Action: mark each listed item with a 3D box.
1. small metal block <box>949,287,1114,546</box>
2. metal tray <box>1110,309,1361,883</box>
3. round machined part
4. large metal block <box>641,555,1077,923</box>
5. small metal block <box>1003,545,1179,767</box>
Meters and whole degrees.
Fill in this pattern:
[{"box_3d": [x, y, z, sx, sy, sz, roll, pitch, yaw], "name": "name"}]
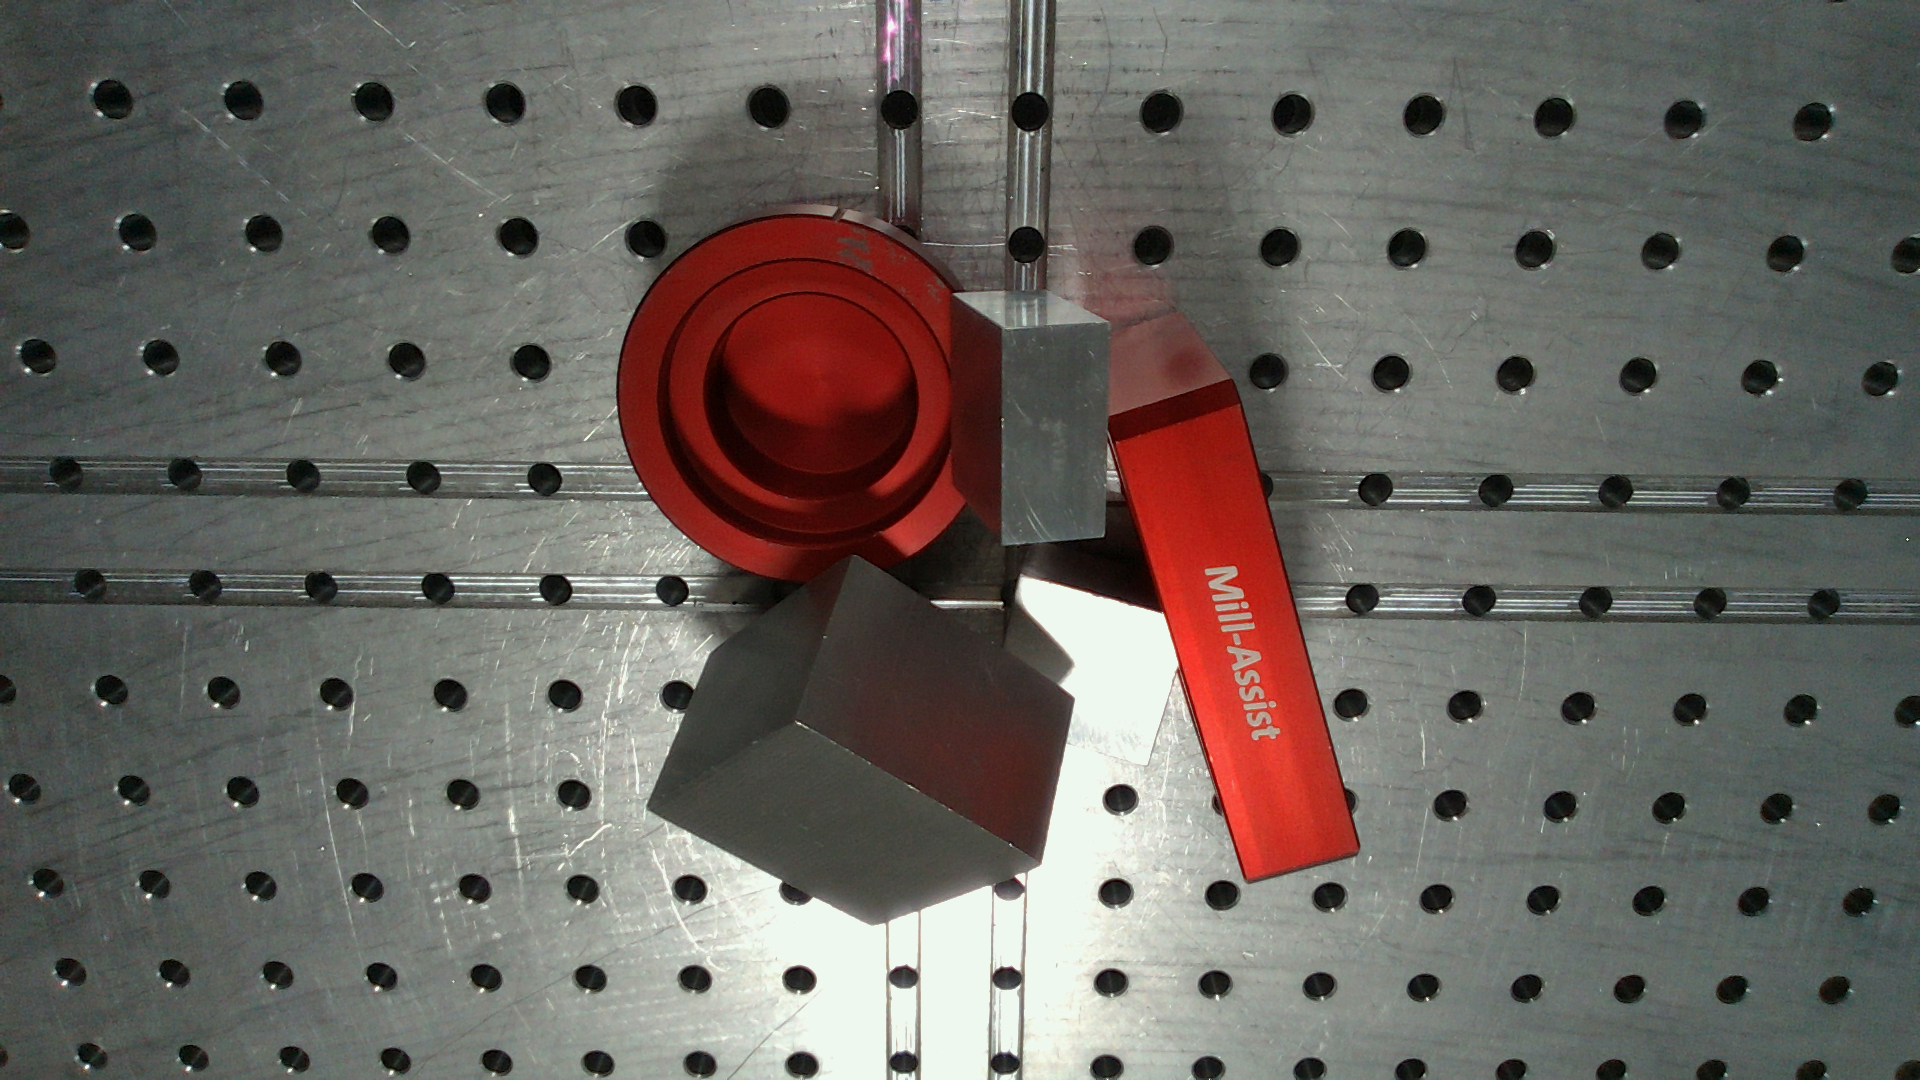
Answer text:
[{"box_3d": [0.016, -0.031, 0.328, 0.025, 0.050, 0.050, -5, 109, -13], "name": "small metal block"}, {"box_3d": [0.068, 0.012, 0.367, 0.030, 0.090, 0.130, -17, 109, 6], "name": "metal tray"}, {"box_3d": [-0.040, -0.041, 0.372, 0.098, 0.042, 0.098, 0, 110, 0], "name": "round machined part"}, {"box_3d": [-0.027, 0.059, 0.381, 0.080, 0.050, 0.080, 34, 139, -23], "name": "large metal block"}, {"box_3d": [0.039, 0.033, 0.403, 0.050, 0.025, 0.050, 15, 114, 6], "name": "small metal block"}]
